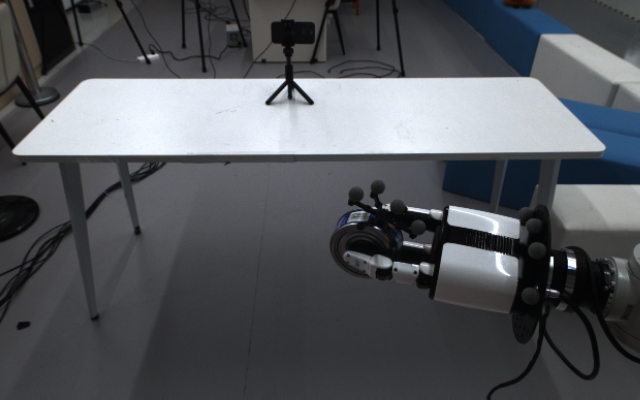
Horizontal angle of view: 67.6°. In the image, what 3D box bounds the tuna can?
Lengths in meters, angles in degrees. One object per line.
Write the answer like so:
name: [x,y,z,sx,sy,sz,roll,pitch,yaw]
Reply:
tuna can: [0.060,0.060,0.585,0.085,0.085,0.034,12,35,14]
